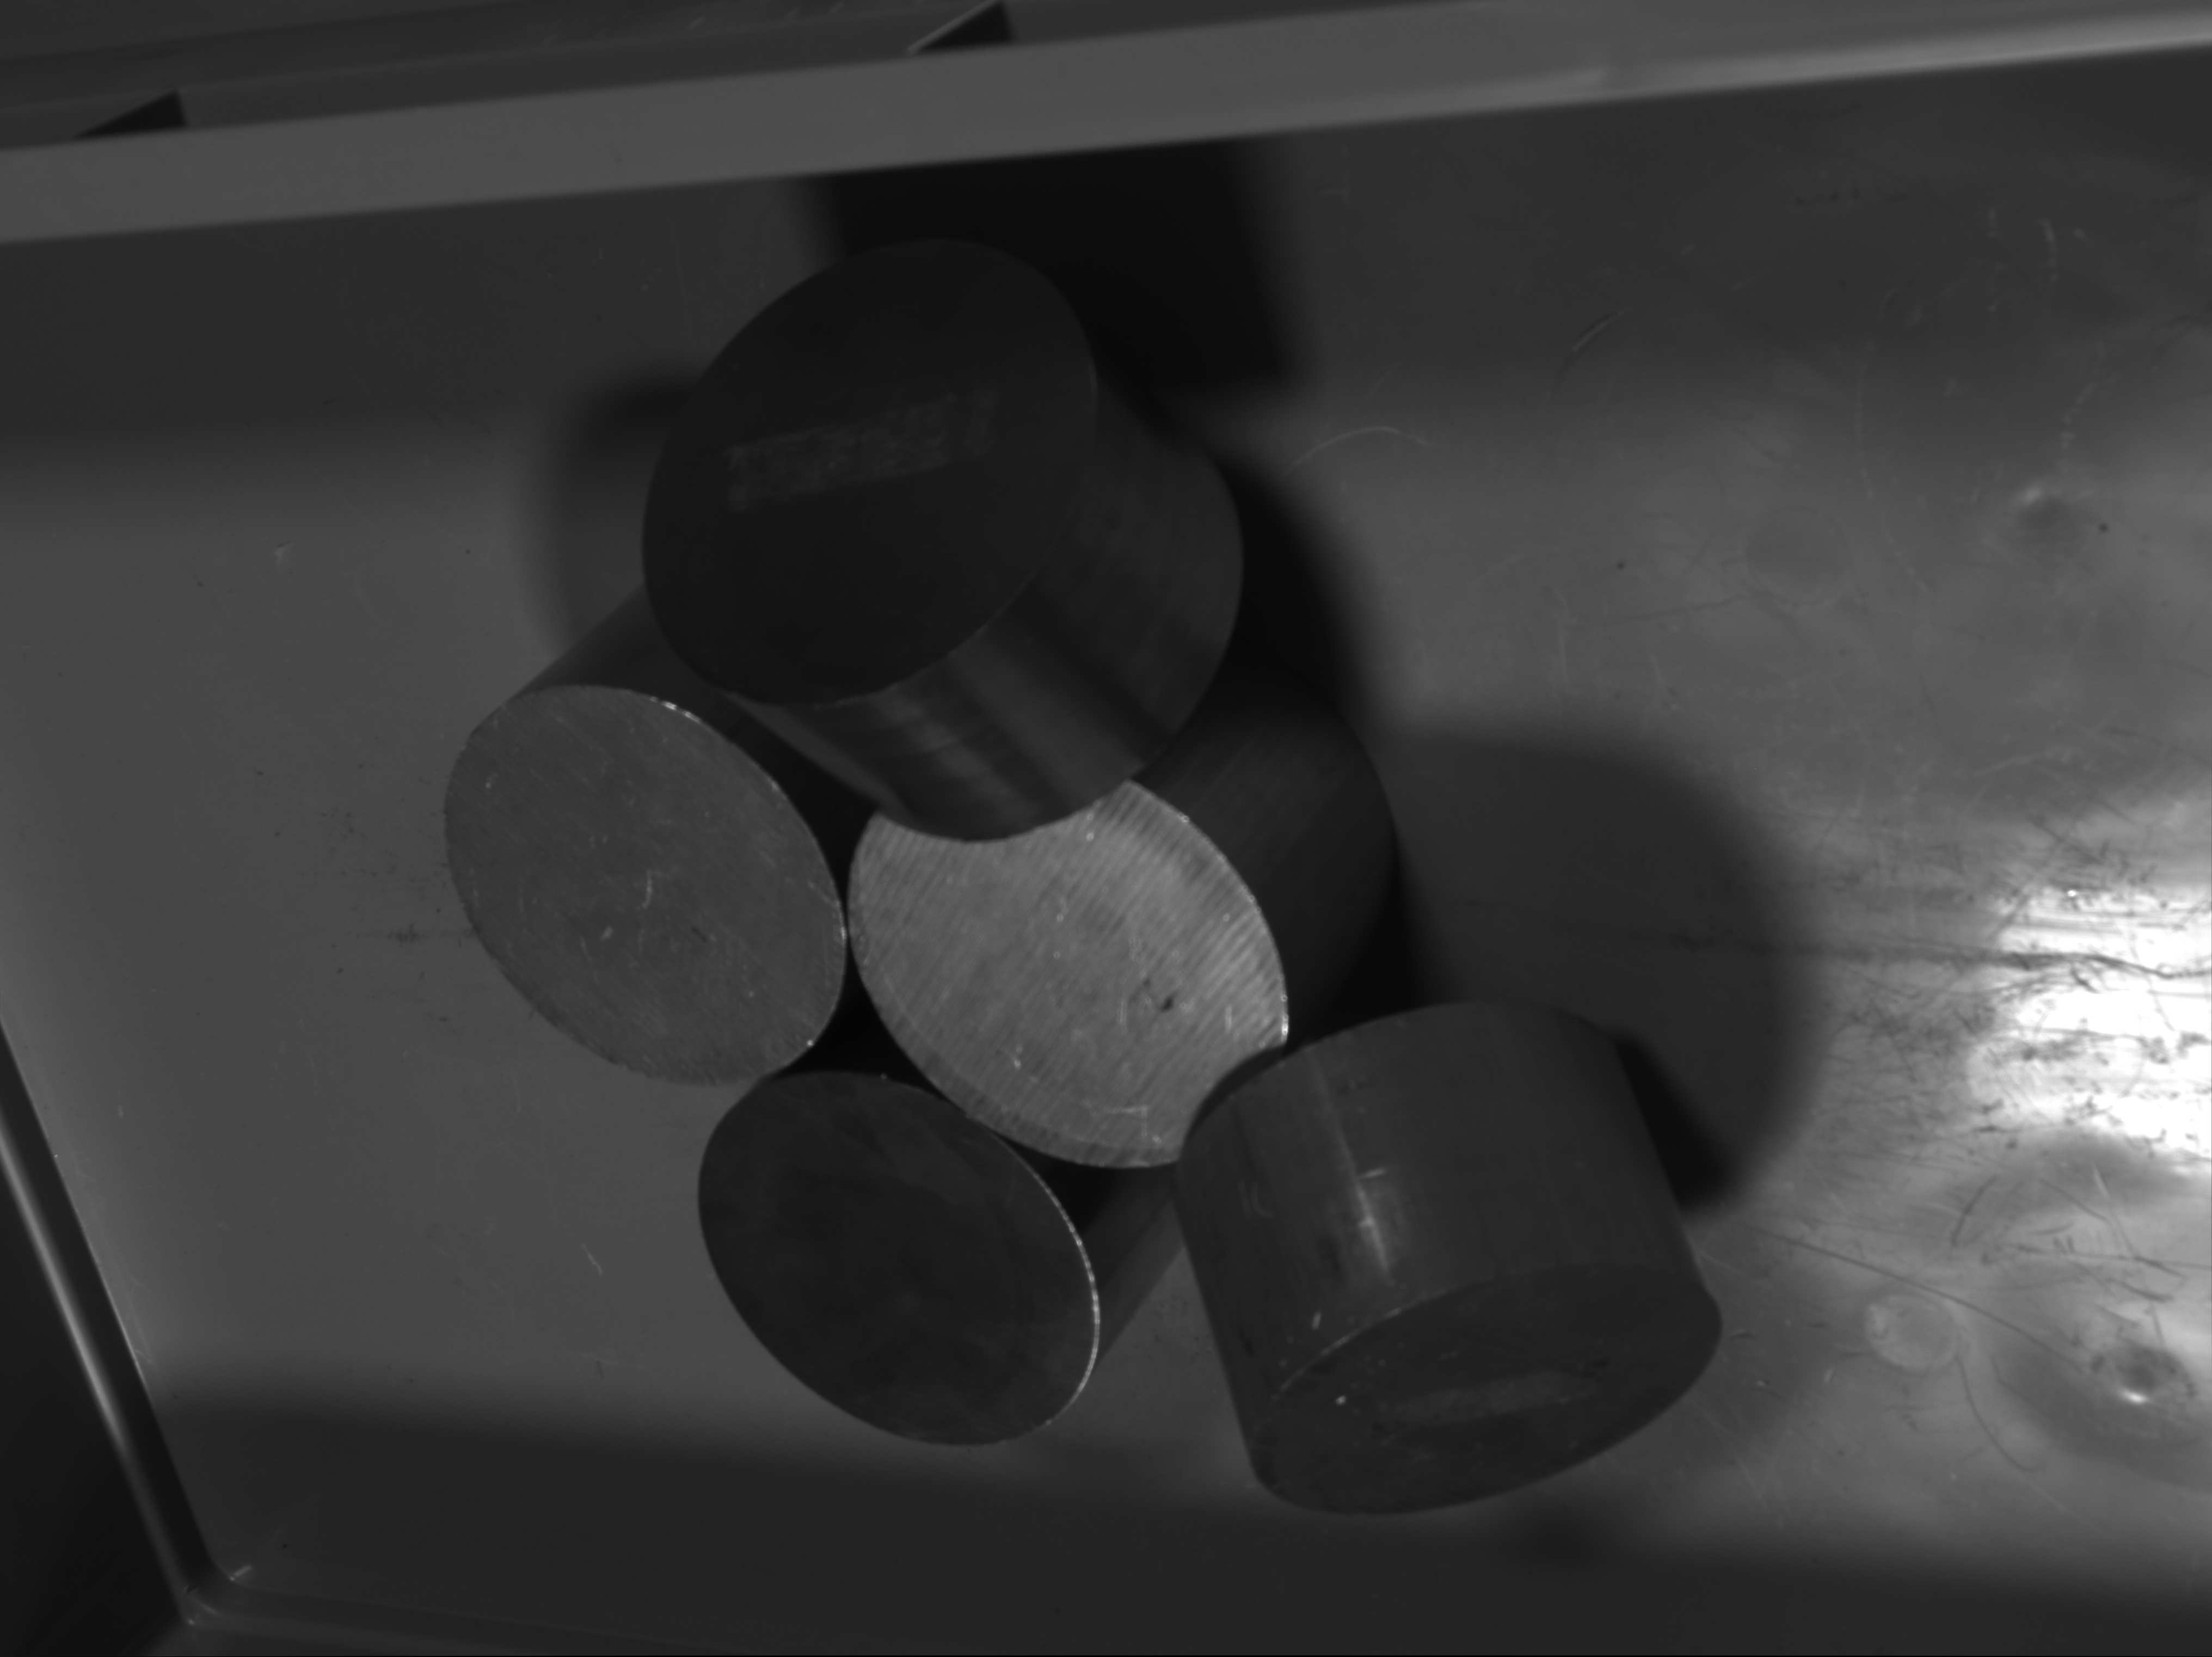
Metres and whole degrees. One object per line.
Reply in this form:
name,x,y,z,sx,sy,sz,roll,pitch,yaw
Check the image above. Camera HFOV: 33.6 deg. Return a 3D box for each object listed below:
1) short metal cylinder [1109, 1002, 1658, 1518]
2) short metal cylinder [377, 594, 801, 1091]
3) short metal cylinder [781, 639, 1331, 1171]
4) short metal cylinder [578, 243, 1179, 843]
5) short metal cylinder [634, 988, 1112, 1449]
short metal cylinder,0.045,0.073,0.609,0.080,0.050,0.080,-12,145,-9
short metal cylinder,-0.082,0.000,0.654,0.080,0.050,0.080,12,123,20
short metal cylinder,-0.008,0.011,0.624,0.080,0.050,0.080,12,123,20
short metal cylinder,-0.035,-0.044,0.577,0.080,0.080,0.050,-3,155,28
short metal cylinder,-0.039,0.066,0.673,0.080,0.050,0.080,12,123,20
